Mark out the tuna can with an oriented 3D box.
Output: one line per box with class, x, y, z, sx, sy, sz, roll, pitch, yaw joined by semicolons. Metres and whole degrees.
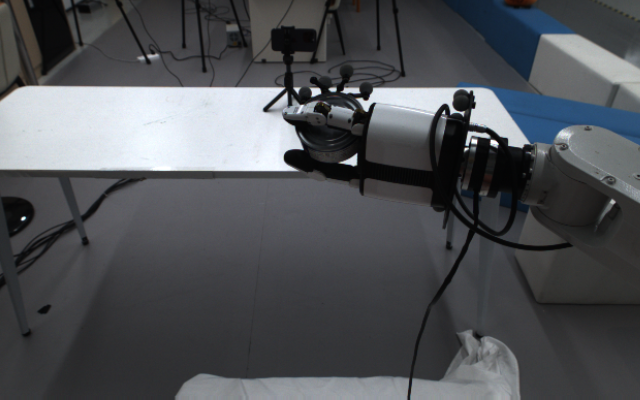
tuna can;0.015;-0.089;0.596;0.085;0.034;0.085;-6;61;10
